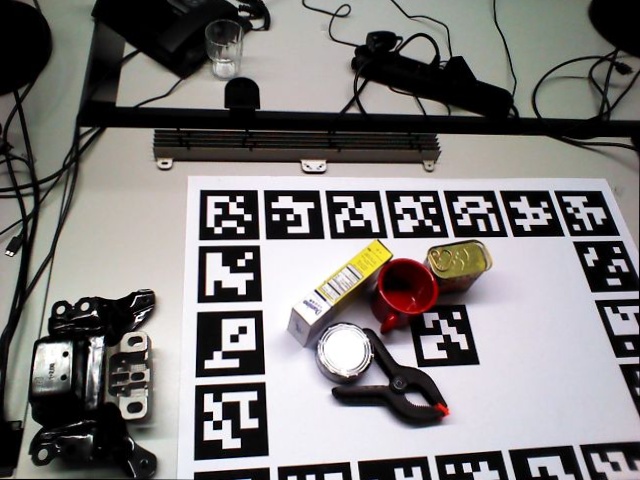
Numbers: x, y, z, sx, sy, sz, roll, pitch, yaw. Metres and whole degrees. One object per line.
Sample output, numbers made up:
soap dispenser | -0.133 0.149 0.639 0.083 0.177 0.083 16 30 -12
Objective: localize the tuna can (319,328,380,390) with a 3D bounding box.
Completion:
tuna can | 0.042 0.175 0.757 0.086 0.034 0.085 3 63 -6

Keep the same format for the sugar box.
sugar box | 0.040 0.087 0.778 0.175 0.093 0.045 -37 71 -25

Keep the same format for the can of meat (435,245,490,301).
can of meat | 0.227 0.055 0.826 0.102 0.084 0.057 -8 62 -14

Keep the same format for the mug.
mug | 0.133 0.097 0.782 0.093 0.082 0.116 21 63 3

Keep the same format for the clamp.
clamp | 0.123 0.224 0.747 0.165 0.037 0.121 32 58 5
